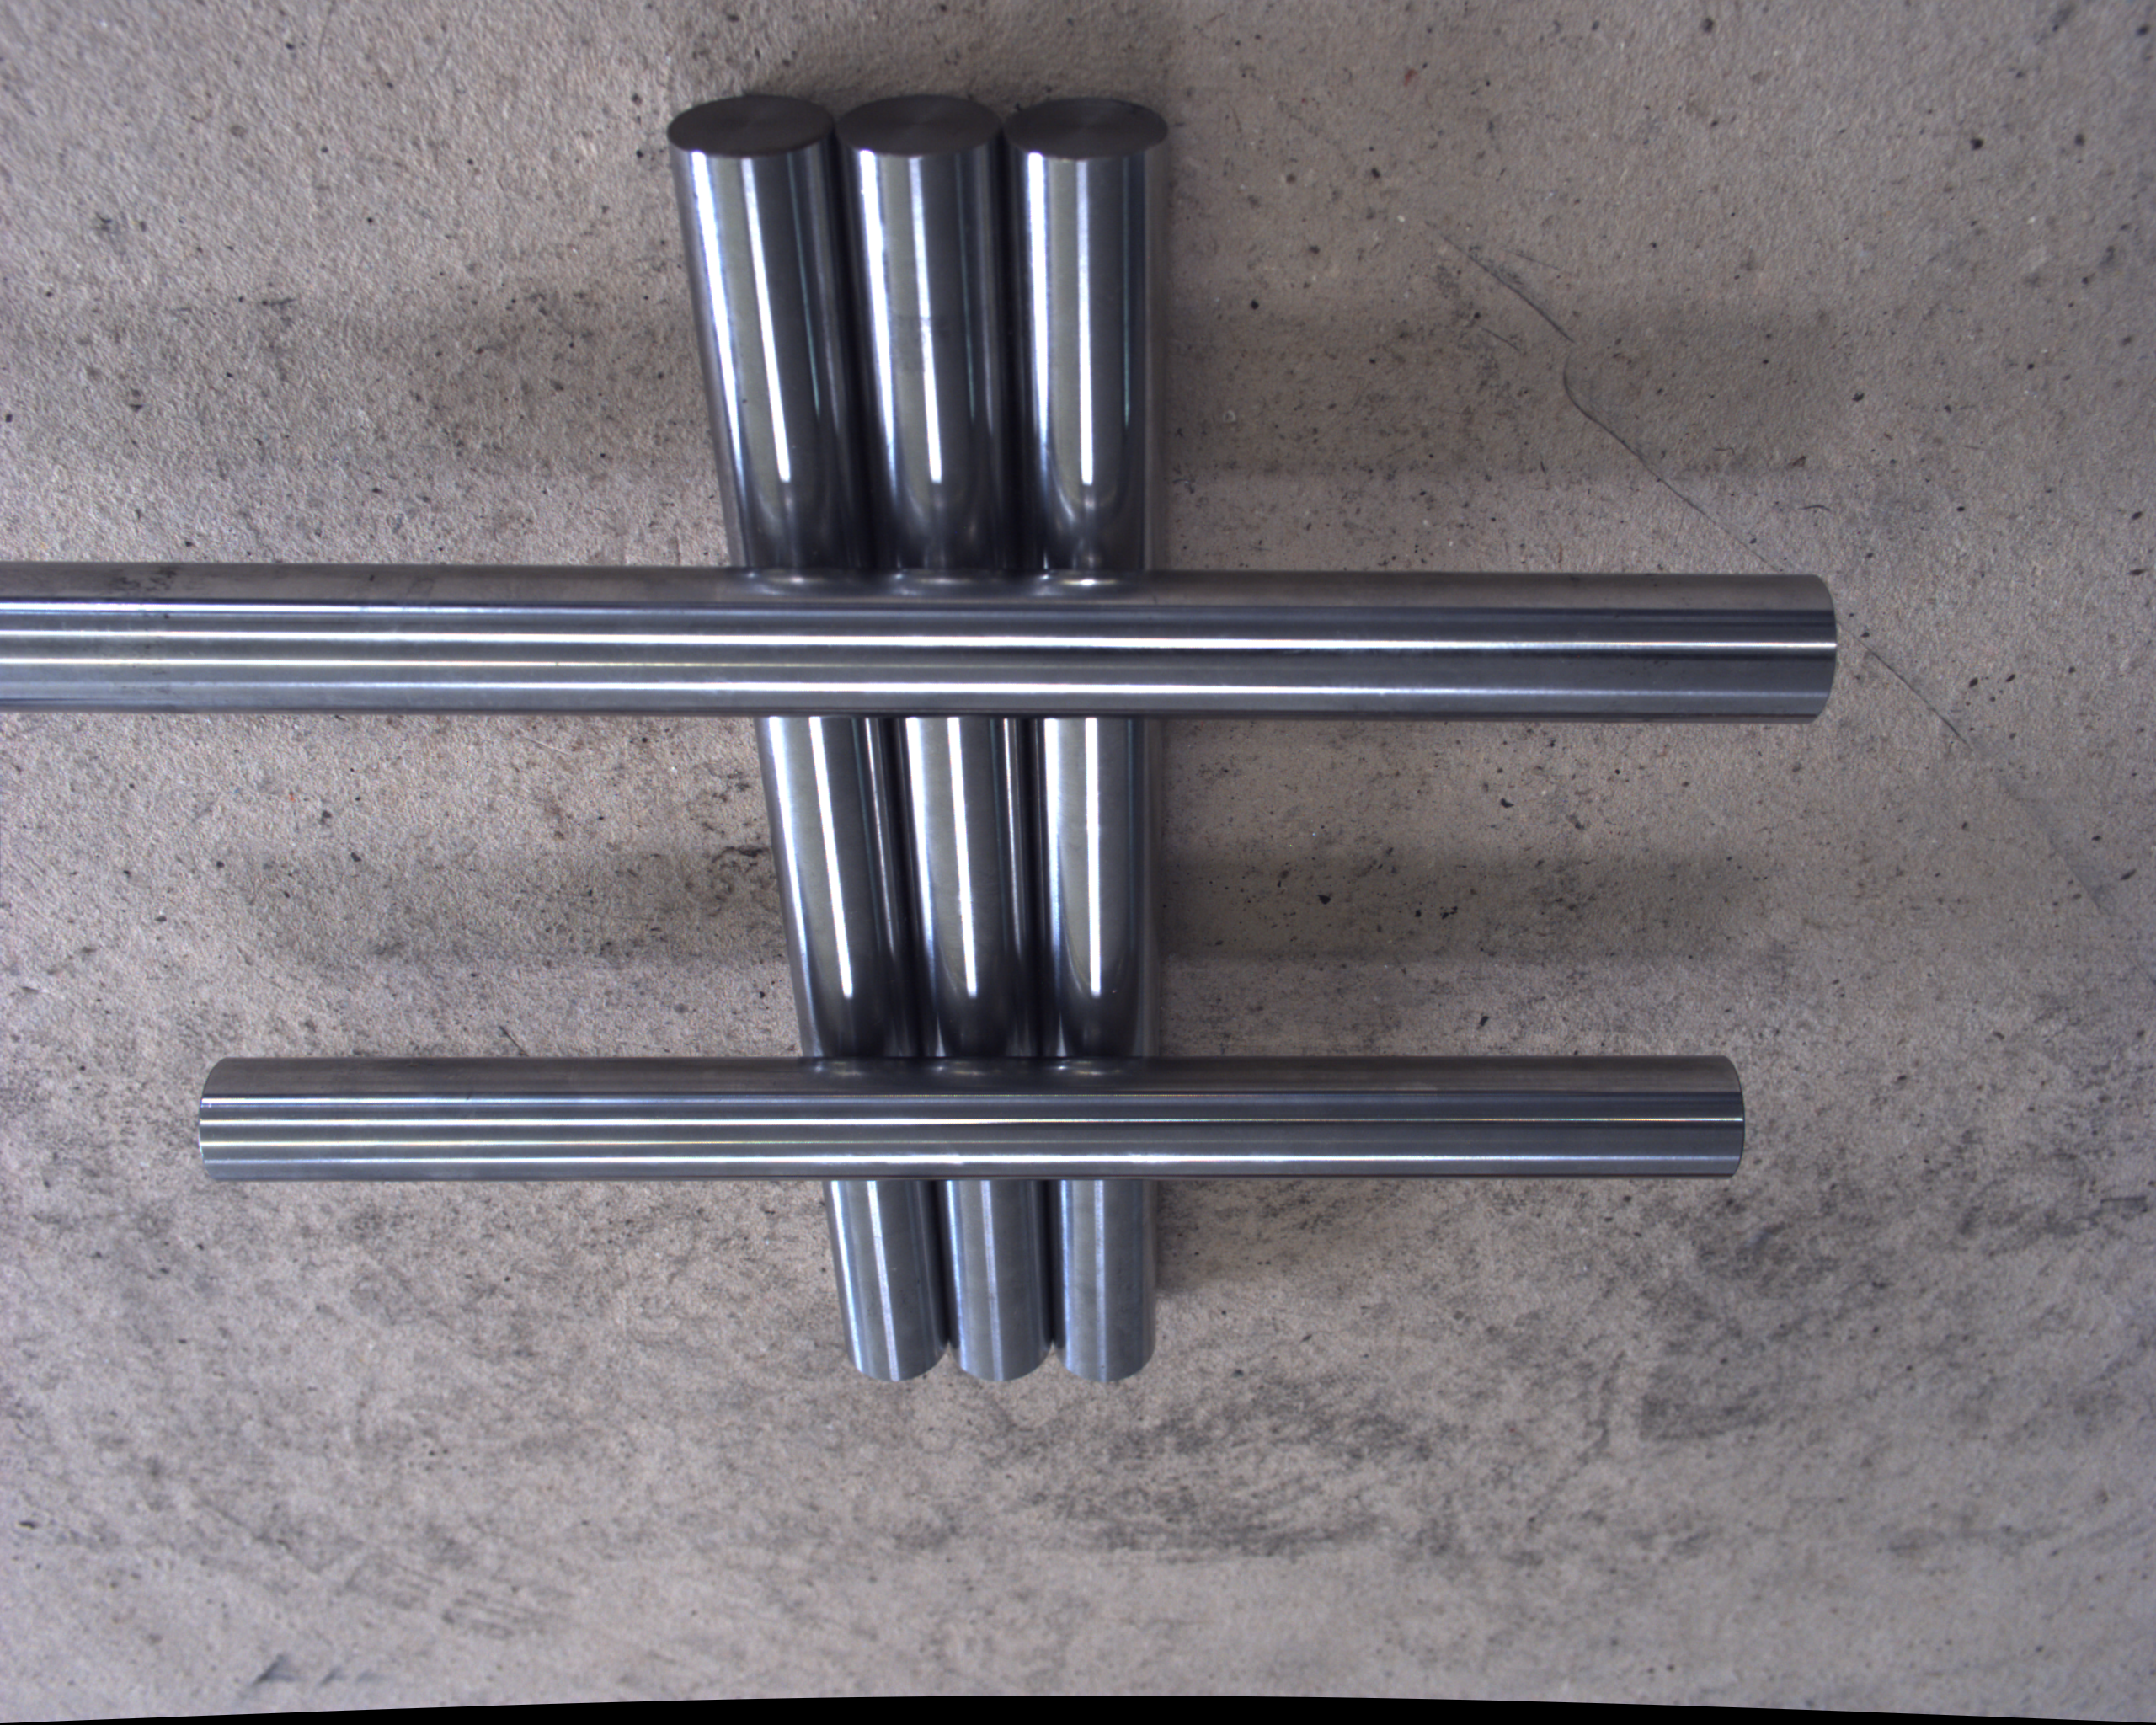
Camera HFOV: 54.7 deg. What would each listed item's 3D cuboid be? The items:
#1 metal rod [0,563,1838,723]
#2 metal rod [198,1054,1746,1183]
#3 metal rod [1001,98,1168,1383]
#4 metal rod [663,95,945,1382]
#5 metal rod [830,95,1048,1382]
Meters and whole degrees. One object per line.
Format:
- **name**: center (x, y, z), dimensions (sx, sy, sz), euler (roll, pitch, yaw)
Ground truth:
- **metal rod**: center (-0.029, -0.036, 0.345), dimensions (0.302, 0.025, 0.025), euler (0, 130, -1)
- **metal rod**: center (-0.020, 0.051, 0.419), dimensions (0.302, 0.025, 0.025), euler (0, 130, -1)
- **metal rod**: center (0.004, 0.003, 0.411), dimensions (0.025, 0.025, 0.298), euler (-1, 130, 1)
- **metal rod**: center (-0.047, 0.002, 0.410), dimensions (0.025, 0.025, 0.298), euler (-1, 130, 0)
- **metal rod**: center (-0.022, 0.002, 0.410), dimensions (0.025, 0.025, 0.298), euler (-1, 130, 1)
